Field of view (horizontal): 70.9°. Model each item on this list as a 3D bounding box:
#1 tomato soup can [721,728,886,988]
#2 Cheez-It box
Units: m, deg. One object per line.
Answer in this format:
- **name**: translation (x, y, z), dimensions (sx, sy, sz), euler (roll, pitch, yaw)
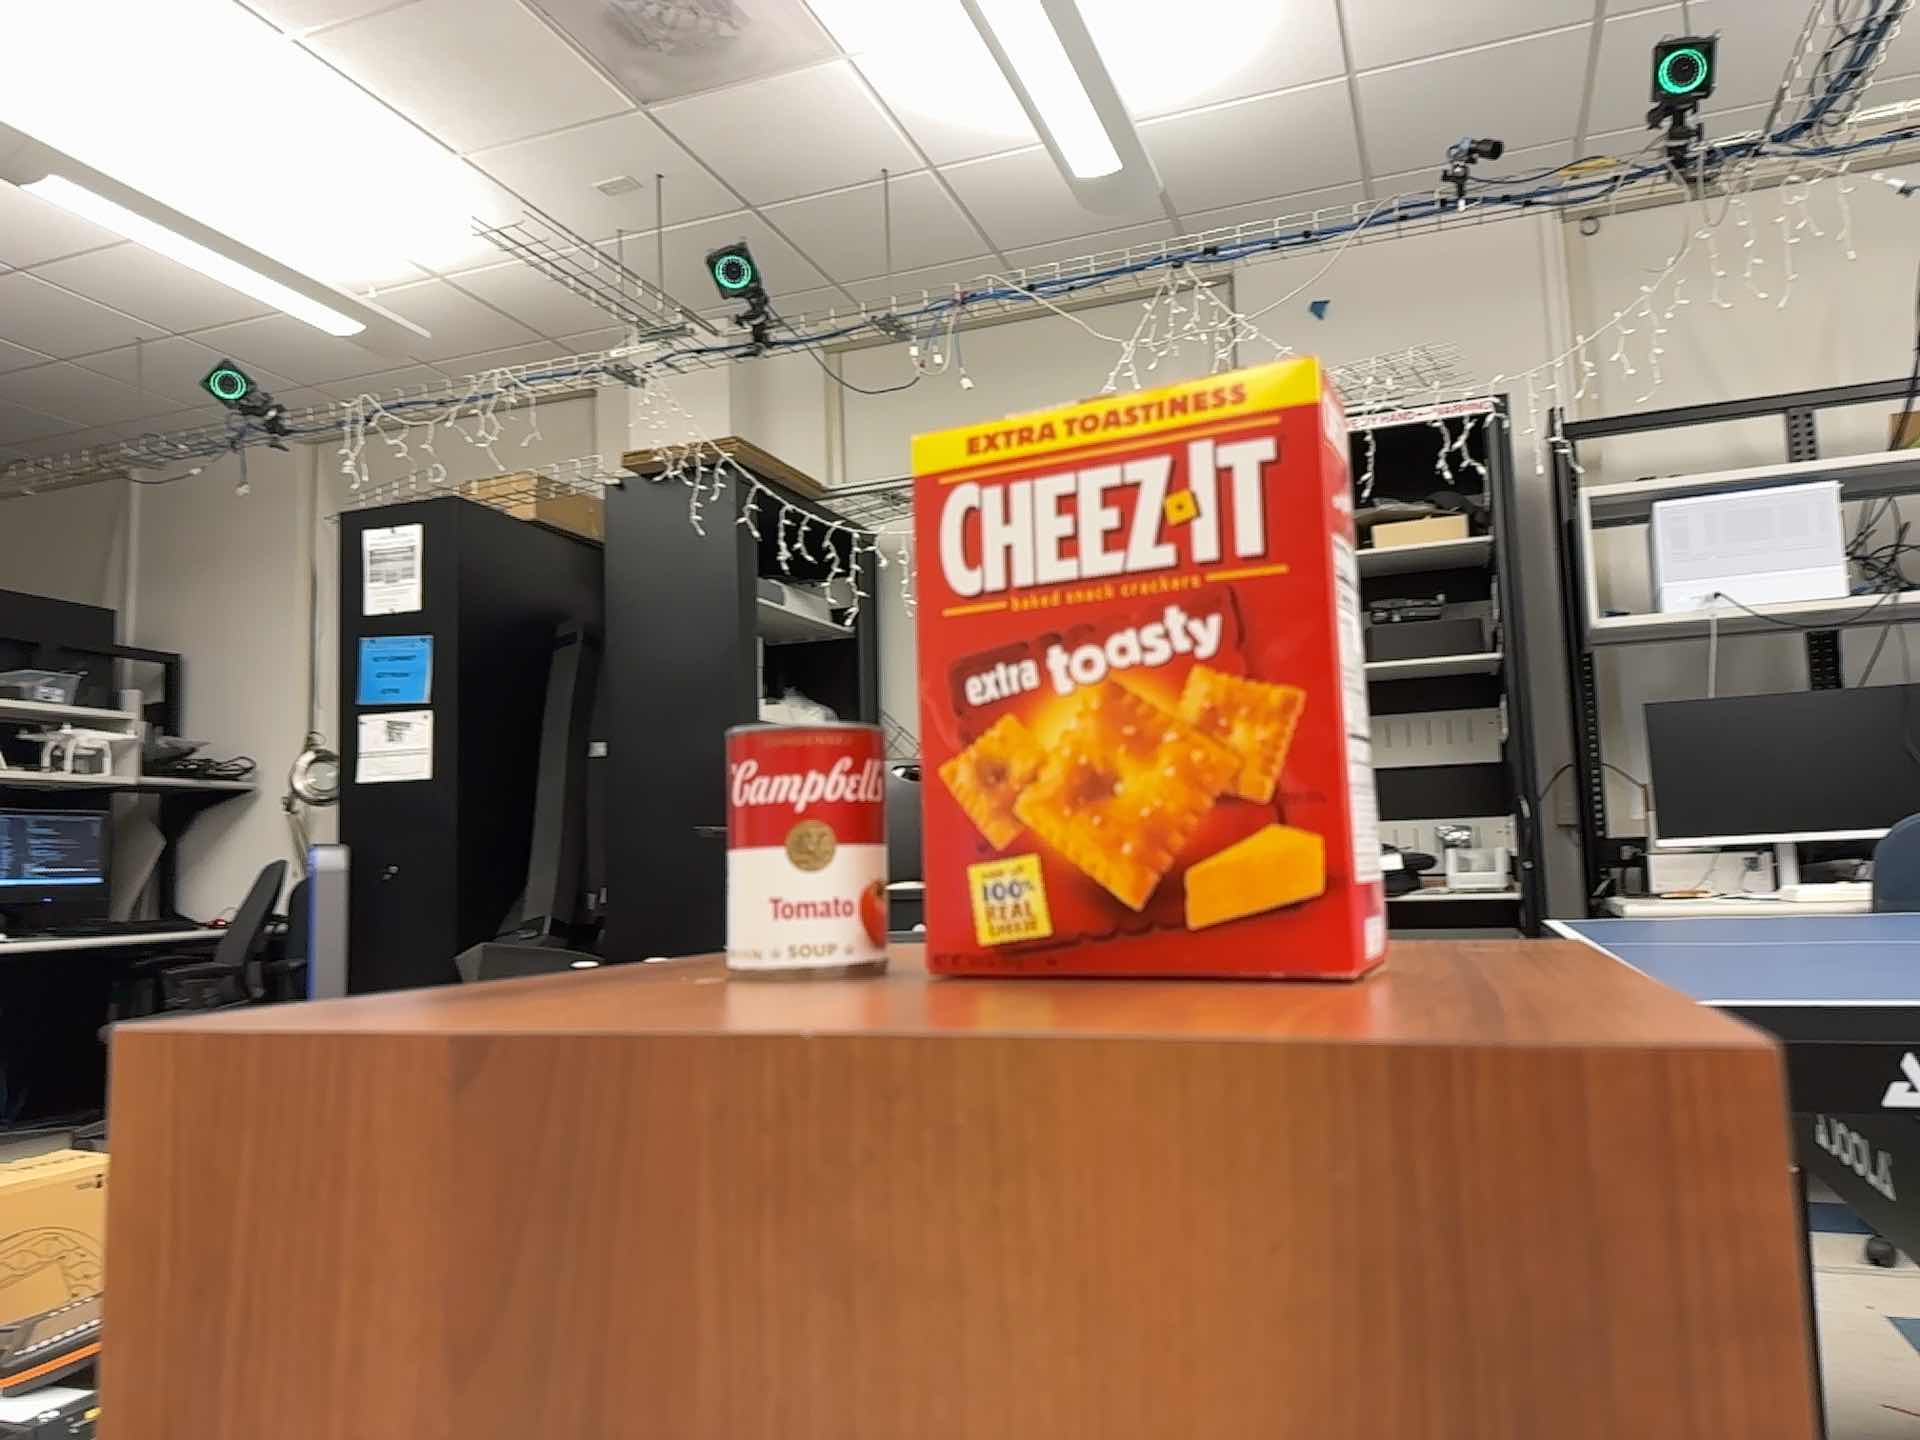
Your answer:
- **tomato soup can**: translation (-0.065, 0.058, 0.554), dimensions (0.067, 0.102, 0.067), euler (-1, -9, 0)
- **Cheez-It box**: translation (0.069, -0.011, 0.516), dimensions (0.159, 0.214, 0.062), euler (-5, -9, 24)
